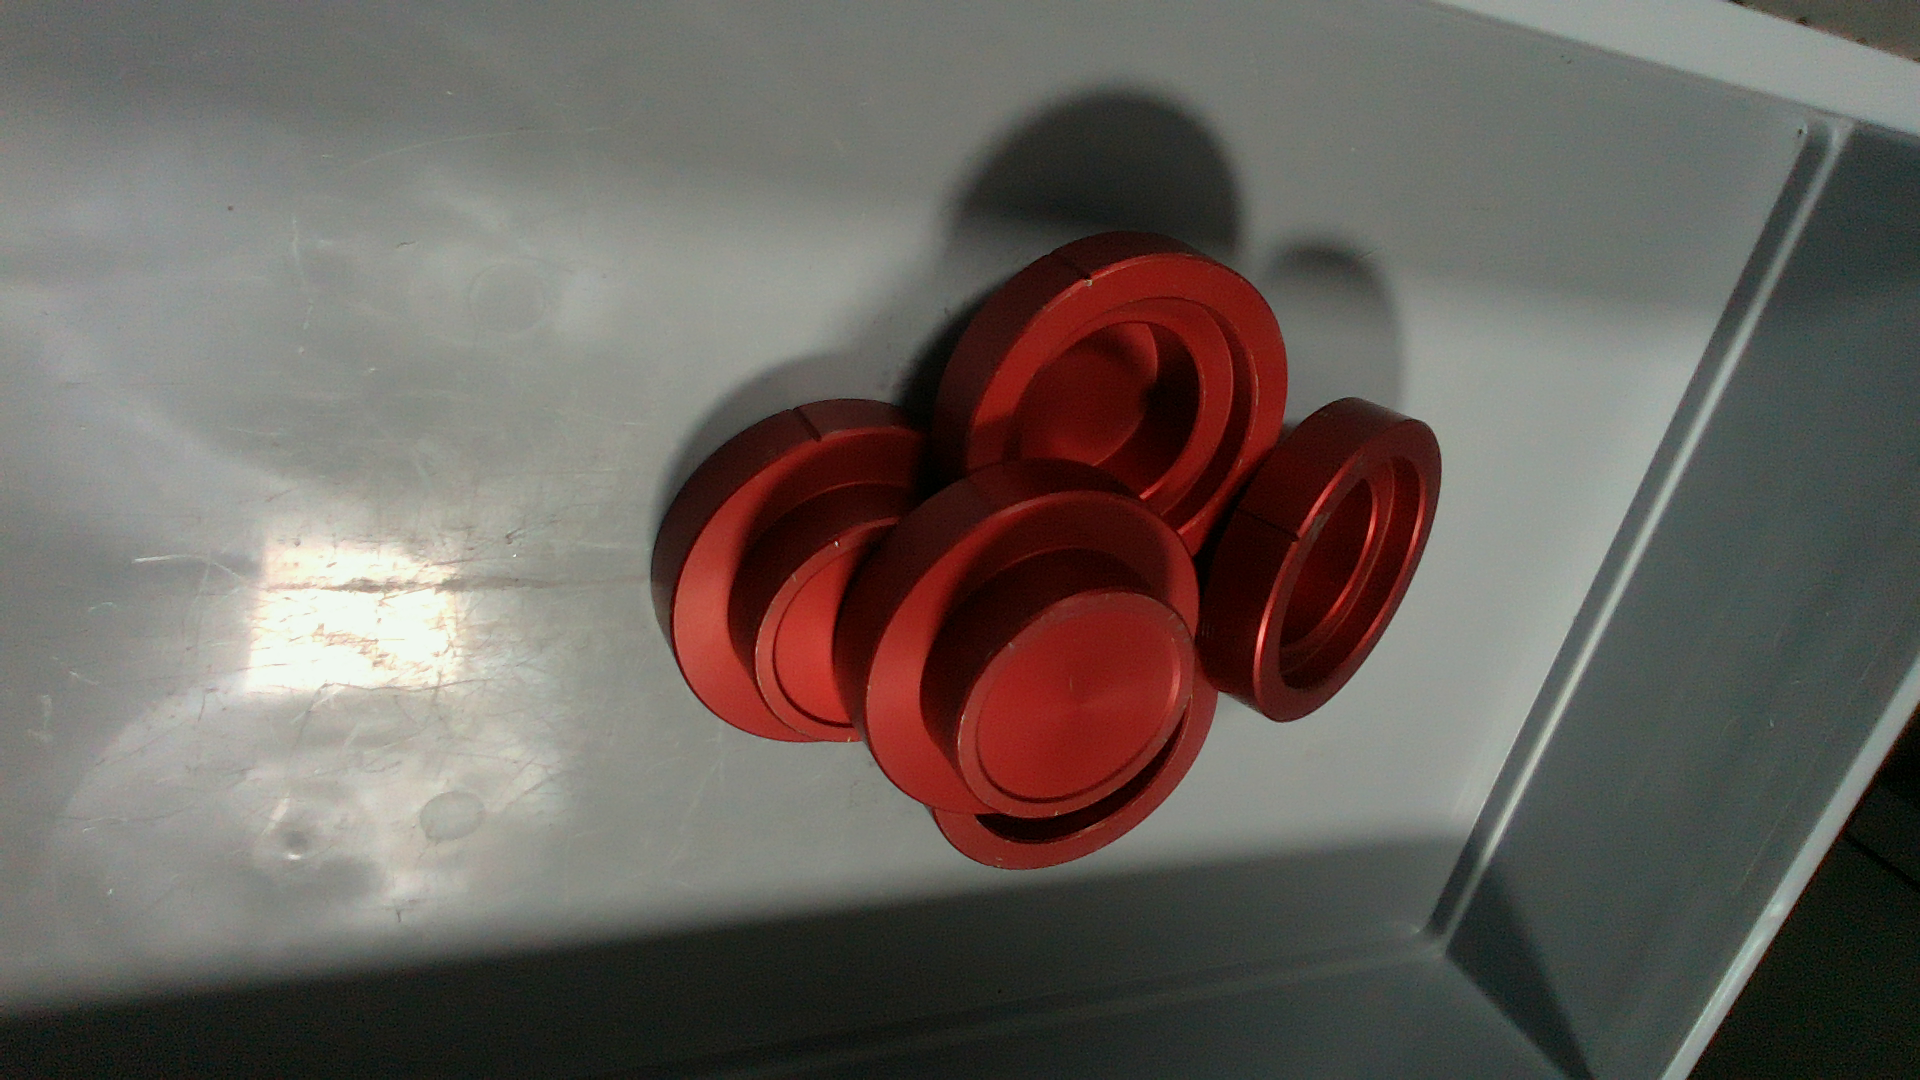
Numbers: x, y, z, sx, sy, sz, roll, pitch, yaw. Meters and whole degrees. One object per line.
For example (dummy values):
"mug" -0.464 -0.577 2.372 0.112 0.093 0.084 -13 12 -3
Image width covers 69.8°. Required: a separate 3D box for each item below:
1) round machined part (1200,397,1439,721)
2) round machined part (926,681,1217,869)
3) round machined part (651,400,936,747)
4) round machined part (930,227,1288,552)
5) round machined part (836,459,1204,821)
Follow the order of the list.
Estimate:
"round machined part" 0.101 0.002 0.419 0.098 0.042 0.098 -30 134 -35
"round machined part" 0.026 0.049 0.421 0.098 0.042 0.098 -14 124 -21
"round machined part" -0.029 0.016 0.368 0.098 0.042 0.098 -14 124 -21
"round machined part" 0.036 -0.037 0.374 0.098 0.042 0.098 -14 124 -21
"round machined part" 0.021 0.032 0.352 0.098 0.042 0.098 -14 124 -21
